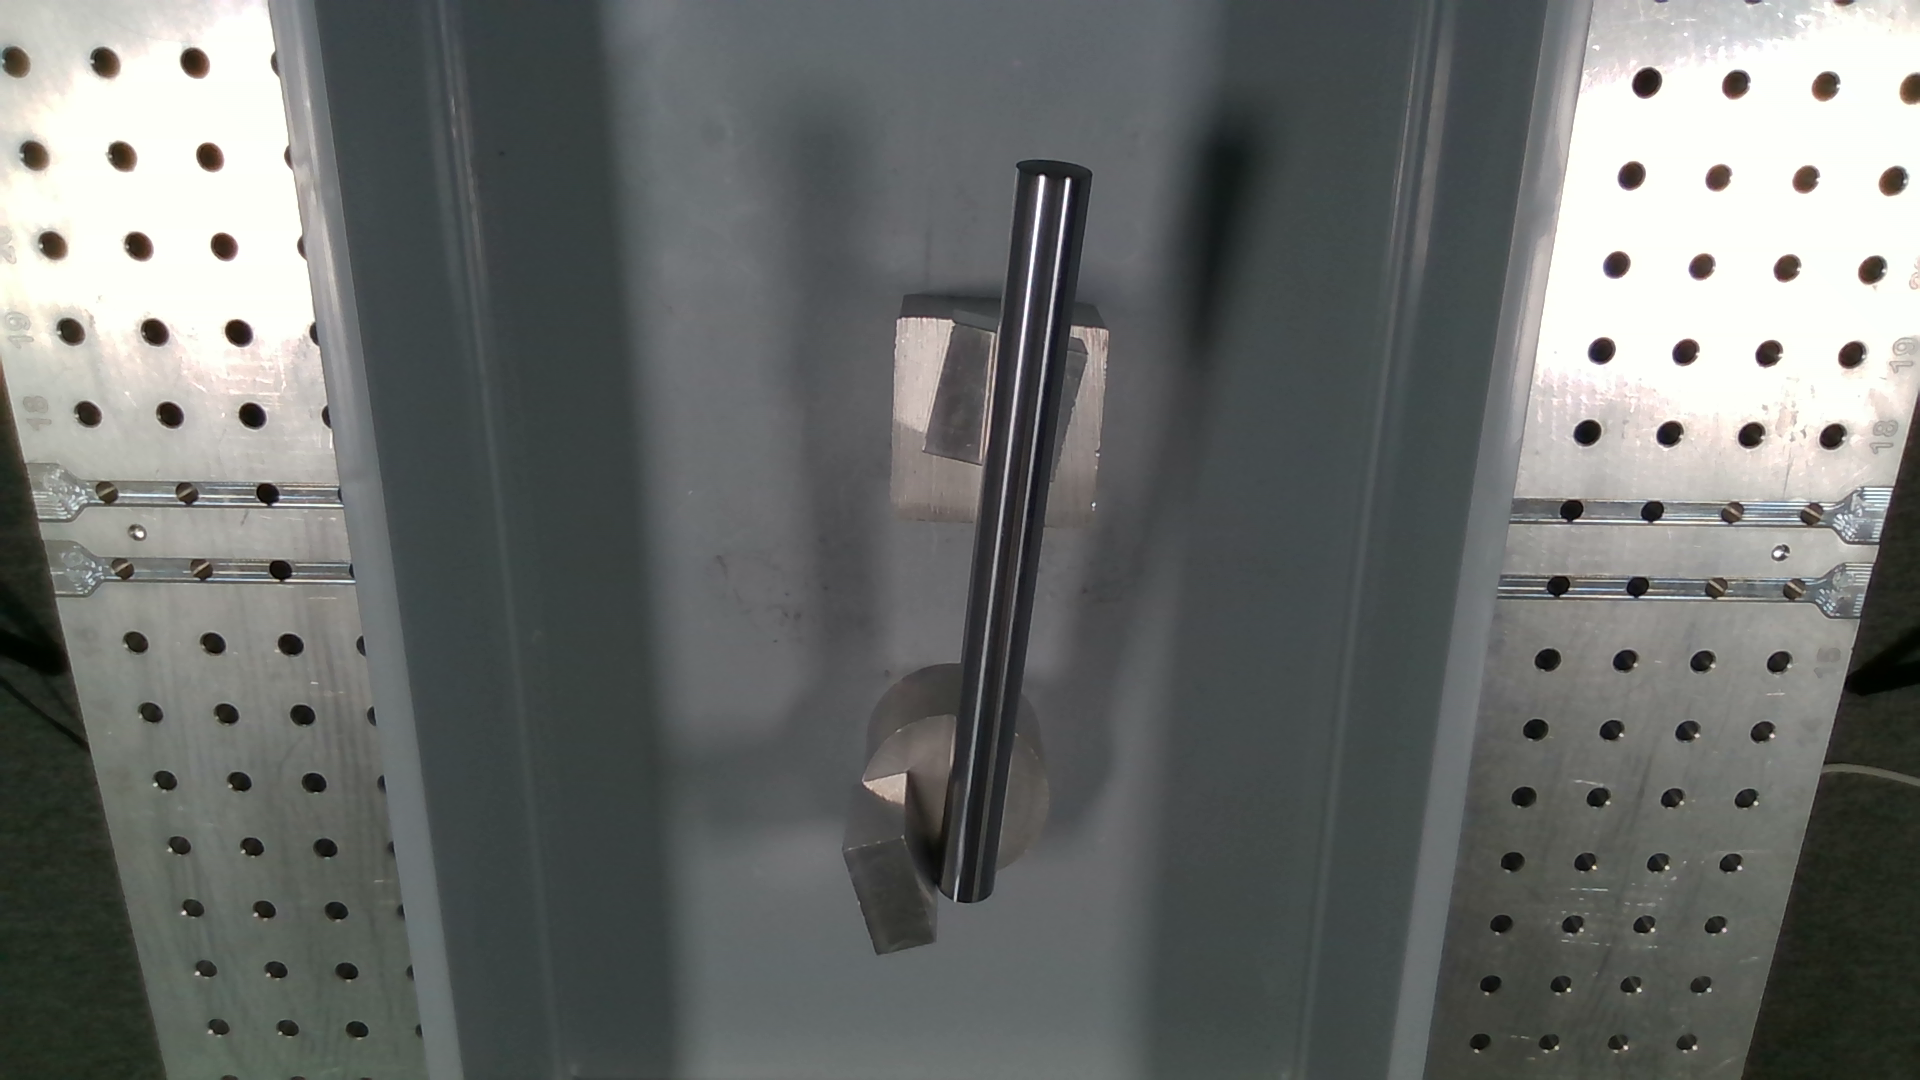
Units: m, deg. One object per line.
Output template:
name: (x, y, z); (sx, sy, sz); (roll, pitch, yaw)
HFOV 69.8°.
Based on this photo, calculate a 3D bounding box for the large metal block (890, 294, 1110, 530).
large metal block: (0.014, -0.052, 0.549); (0.080, 0.050, 0.080); (2, 110, -1)

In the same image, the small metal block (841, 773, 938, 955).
small metal block: (-0.028, 0.132, 0.565); (0.025, 0.050, 0.050); (-14, 110, 5)

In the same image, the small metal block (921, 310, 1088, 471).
small metal block: (0.016, -0.054, 0.510); (0.050, 0.025, 0.050); (12, 110, -5)

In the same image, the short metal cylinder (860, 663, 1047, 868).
short metal cylinder: (-0.003, 0.101, 0.607); (0.080, 0.050, 0.080); (0, 110, 0)

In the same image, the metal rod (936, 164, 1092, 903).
metal rod: (0.016, 0.013, 0.513); (0.025, 0.025, 0.301); (5, 118, -2)
